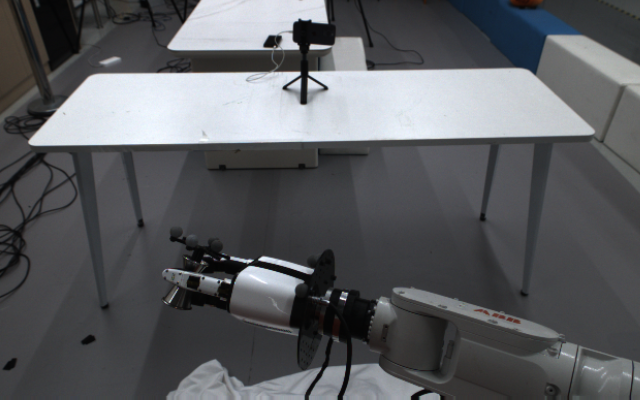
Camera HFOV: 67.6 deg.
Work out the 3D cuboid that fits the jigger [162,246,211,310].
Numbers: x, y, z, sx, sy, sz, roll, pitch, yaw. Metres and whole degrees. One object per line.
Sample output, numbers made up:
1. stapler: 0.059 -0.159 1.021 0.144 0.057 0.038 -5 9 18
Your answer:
1. jigger: -0.188 0.113 0.674 0.043 0.071 0.043 24 -2 1
